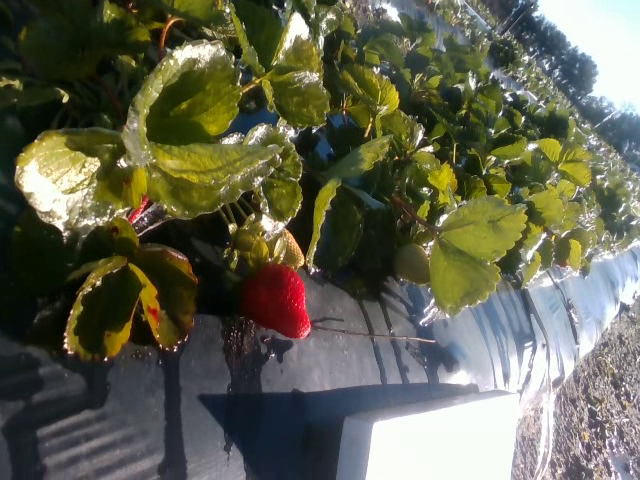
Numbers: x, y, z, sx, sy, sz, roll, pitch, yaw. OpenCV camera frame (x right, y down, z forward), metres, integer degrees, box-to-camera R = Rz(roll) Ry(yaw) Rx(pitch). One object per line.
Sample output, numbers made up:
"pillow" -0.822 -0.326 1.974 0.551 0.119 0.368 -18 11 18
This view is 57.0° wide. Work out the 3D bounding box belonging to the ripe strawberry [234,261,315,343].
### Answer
"ripe strawberry" -0.014 0.031 0.251 0.039 0.040 0.039 0 30 -44
